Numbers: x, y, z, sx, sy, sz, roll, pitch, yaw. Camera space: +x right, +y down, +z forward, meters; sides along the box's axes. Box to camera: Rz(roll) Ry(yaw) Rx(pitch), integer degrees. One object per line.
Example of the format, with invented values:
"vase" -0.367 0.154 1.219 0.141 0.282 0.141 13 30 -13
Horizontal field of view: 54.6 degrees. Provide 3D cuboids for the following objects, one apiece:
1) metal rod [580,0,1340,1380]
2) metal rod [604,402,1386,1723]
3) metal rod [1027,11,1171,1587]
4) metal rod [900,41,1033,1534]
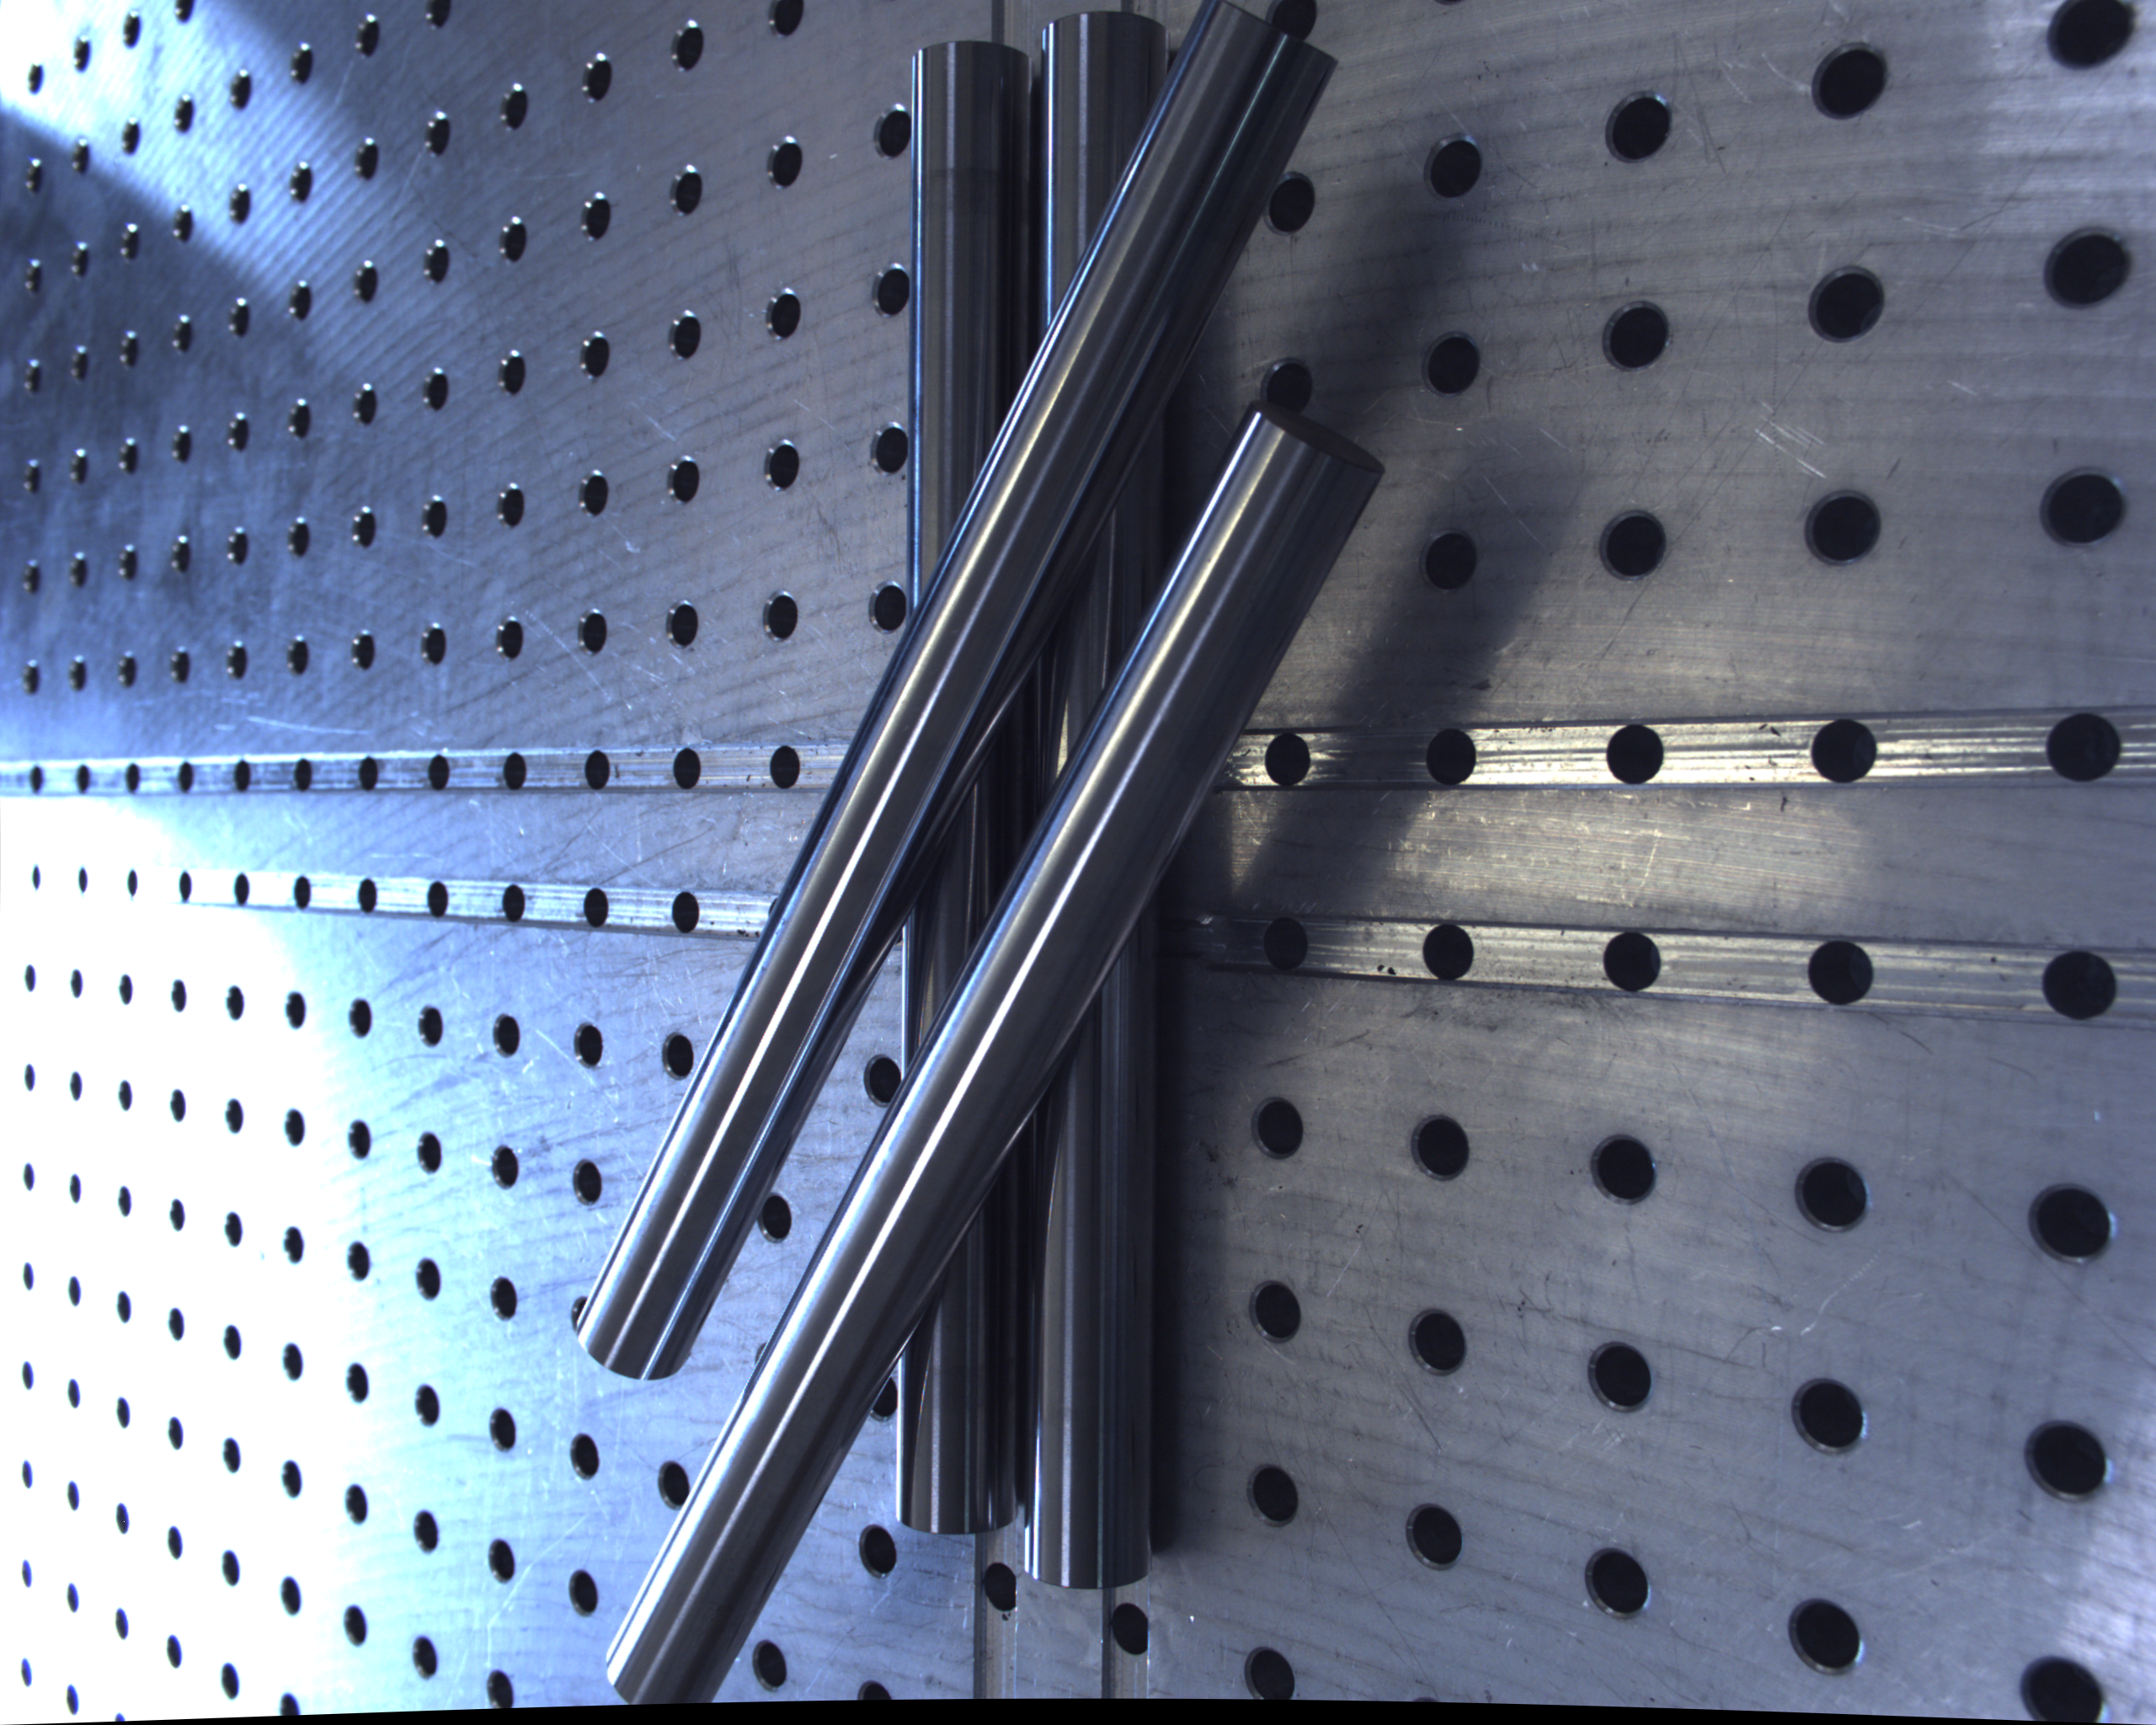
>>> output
"metal rod" -0.032 -0.018 0.405 0.025 0.025 0.298 42 115 32
"metal rod" -0.025 0.053 0.399 0.025 0.025 0.298 42 115 32
"metal rod" 0.004 -0.012 0.408 0.025 0.025 0.298 1 91 40
"metal rod" -0.023 -0.015 0.430 0.025 0.025 0.298 1 91 40
